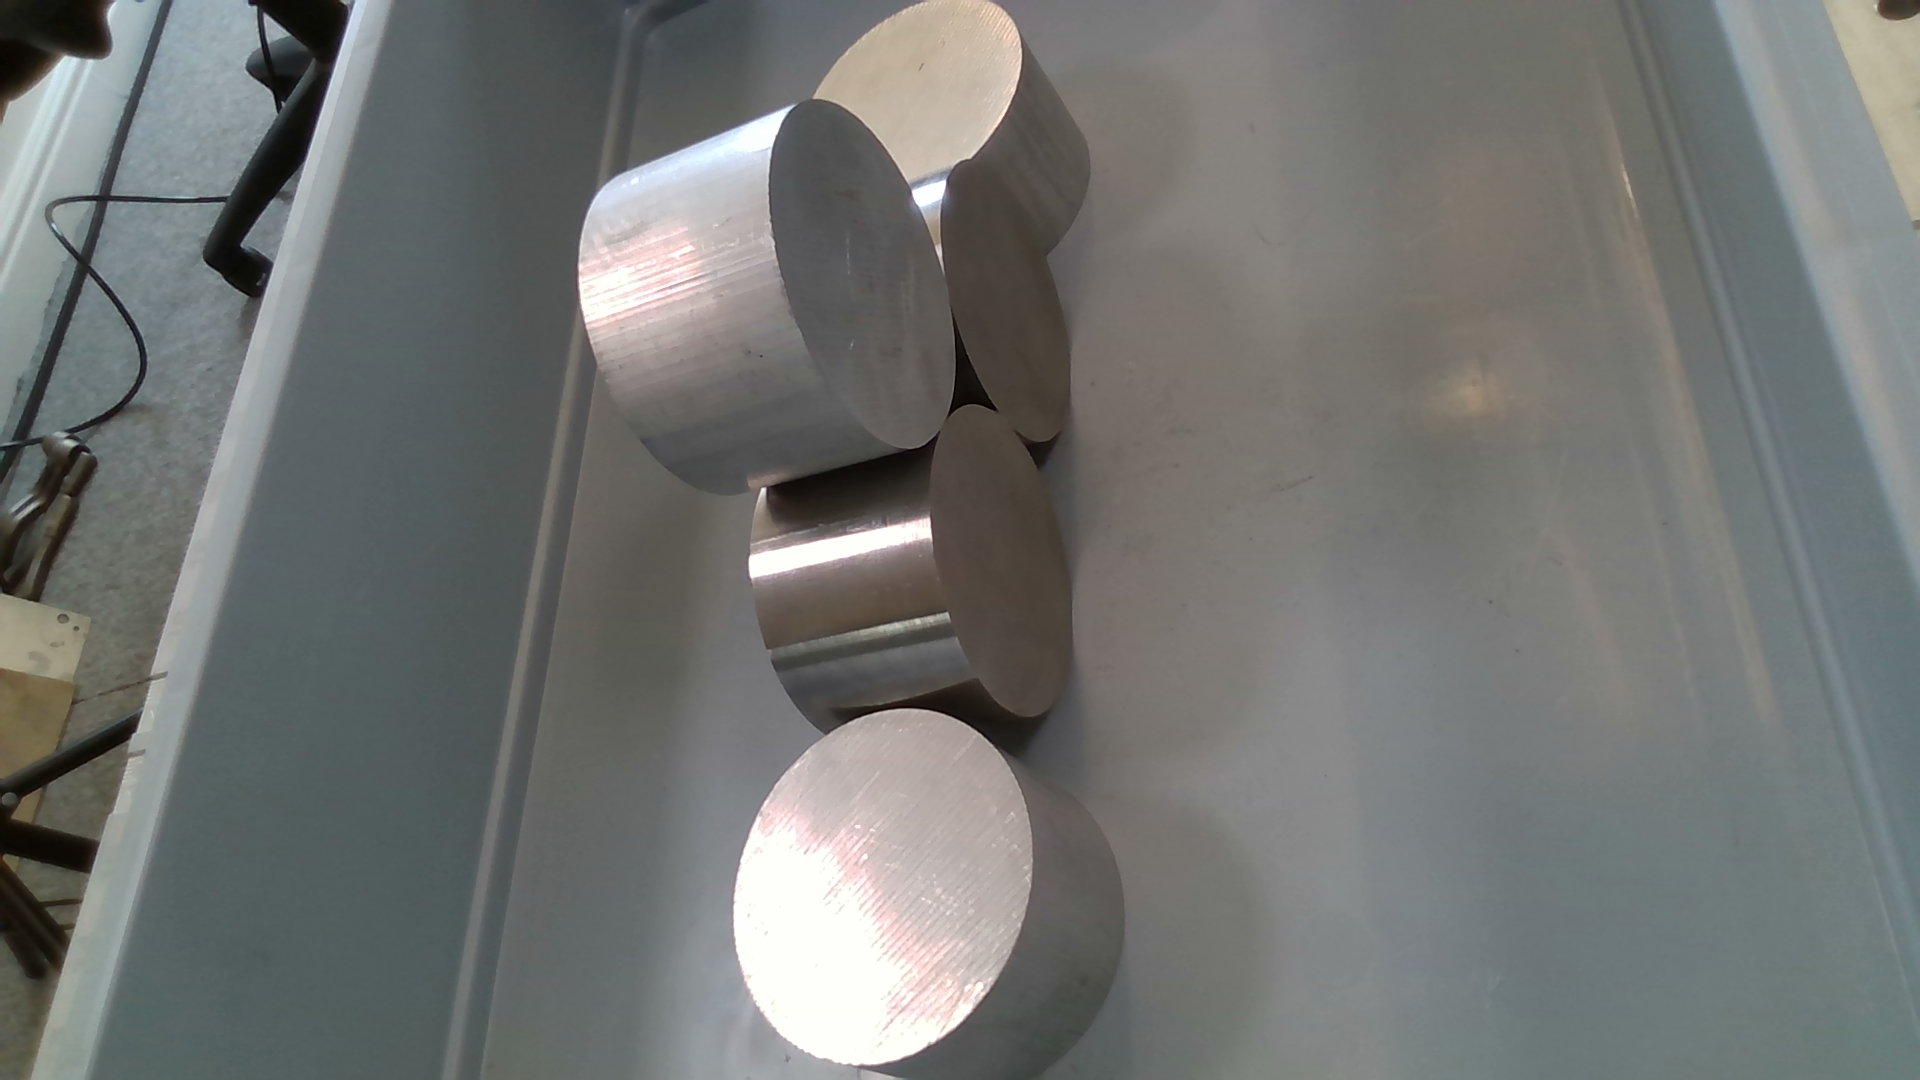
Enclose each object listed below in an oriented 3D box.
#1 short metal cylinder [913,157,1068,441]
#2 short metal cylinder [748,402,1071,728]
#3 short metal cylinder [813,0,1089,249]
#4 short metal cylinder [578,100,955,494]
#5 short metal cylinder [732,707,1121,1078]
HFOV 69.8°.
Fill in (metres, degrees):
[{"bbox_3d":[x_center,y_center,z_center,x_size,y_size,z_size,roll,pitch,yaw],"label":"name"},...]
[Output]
[{"bbox_3d":[-0.009,-0.062,0.394,0.050,0.080,0.080,-13,60,26],"label":"short metal cylinder"},{"bbox_3d":[-0.011,0.009,0.357,0.050,0.080,0.080,-13,60,26],"label":"short metal cylinder"},{"bbox_3d":[-0.005,-0.126,0.445,0.080,0.050,0.080,-14,59,25],"label":"short metal cylinder"},{"bbox_3d":[-0.042,-0.055,0.322,0.050,0.080,0.080,-13,60,26],"label":"short metal cylinder"},{"bbox_3d":[-0.008,0.087,0.334,0.080,0.050,0.080,-14,59,25],"label":"short metal cylinder"}]
